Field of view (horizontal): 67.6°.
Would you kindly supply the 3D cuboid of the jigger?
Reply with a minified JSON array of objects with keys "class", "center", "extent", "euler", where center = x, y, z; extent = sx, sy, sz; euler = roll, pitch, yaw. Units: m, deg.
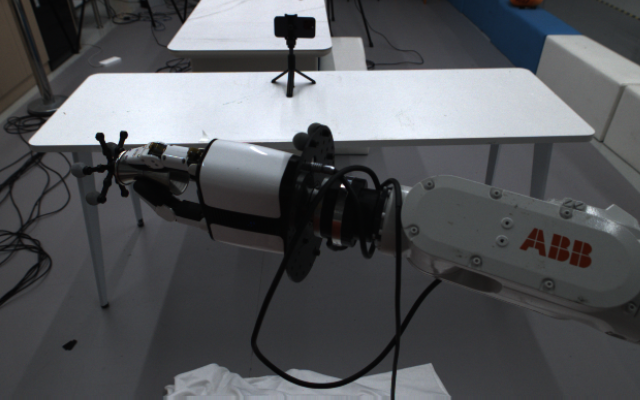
[{"class":"jigger","center":[-0.179,-0.036,0.534],"extent":[0.071,0.043,0.043],"euler":[8,35,14]}]
